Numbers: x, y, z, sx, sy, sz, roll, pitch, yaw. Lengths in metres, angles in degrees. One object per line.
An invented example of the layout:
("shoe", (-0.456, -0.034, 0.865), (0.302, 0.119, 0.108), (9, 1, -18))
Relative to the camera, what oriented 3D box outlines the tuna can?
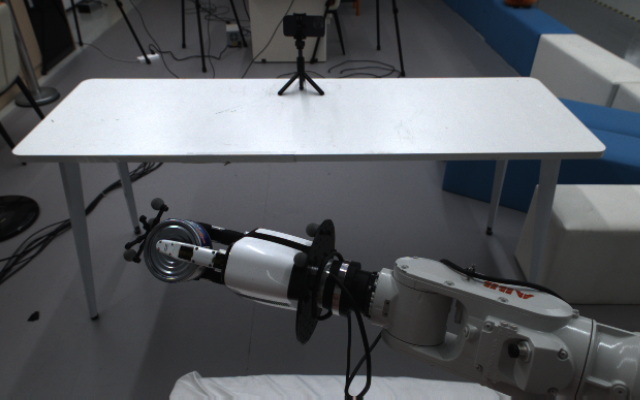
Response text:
("tuna can", (-0.188, 0.072, 0.646), (0.085, 0.085, 0.034), (9, -3, 10))
